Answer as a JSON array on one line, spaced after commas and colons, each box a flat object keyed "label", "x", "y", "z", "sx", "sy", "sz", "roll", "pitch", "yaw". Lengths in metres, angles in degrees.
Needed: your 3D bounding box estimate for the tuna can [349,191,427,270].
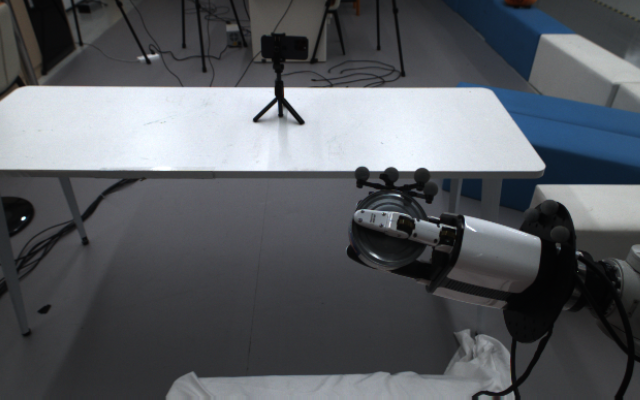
[{"label": "tuna can", "x": 0.077, "y": 0.030, "z": 0.536, "sx": 0.085, "sy": 0.034, "sz": 0.085, "roll": 1, "pitch": 73, "yaw": -4}]
